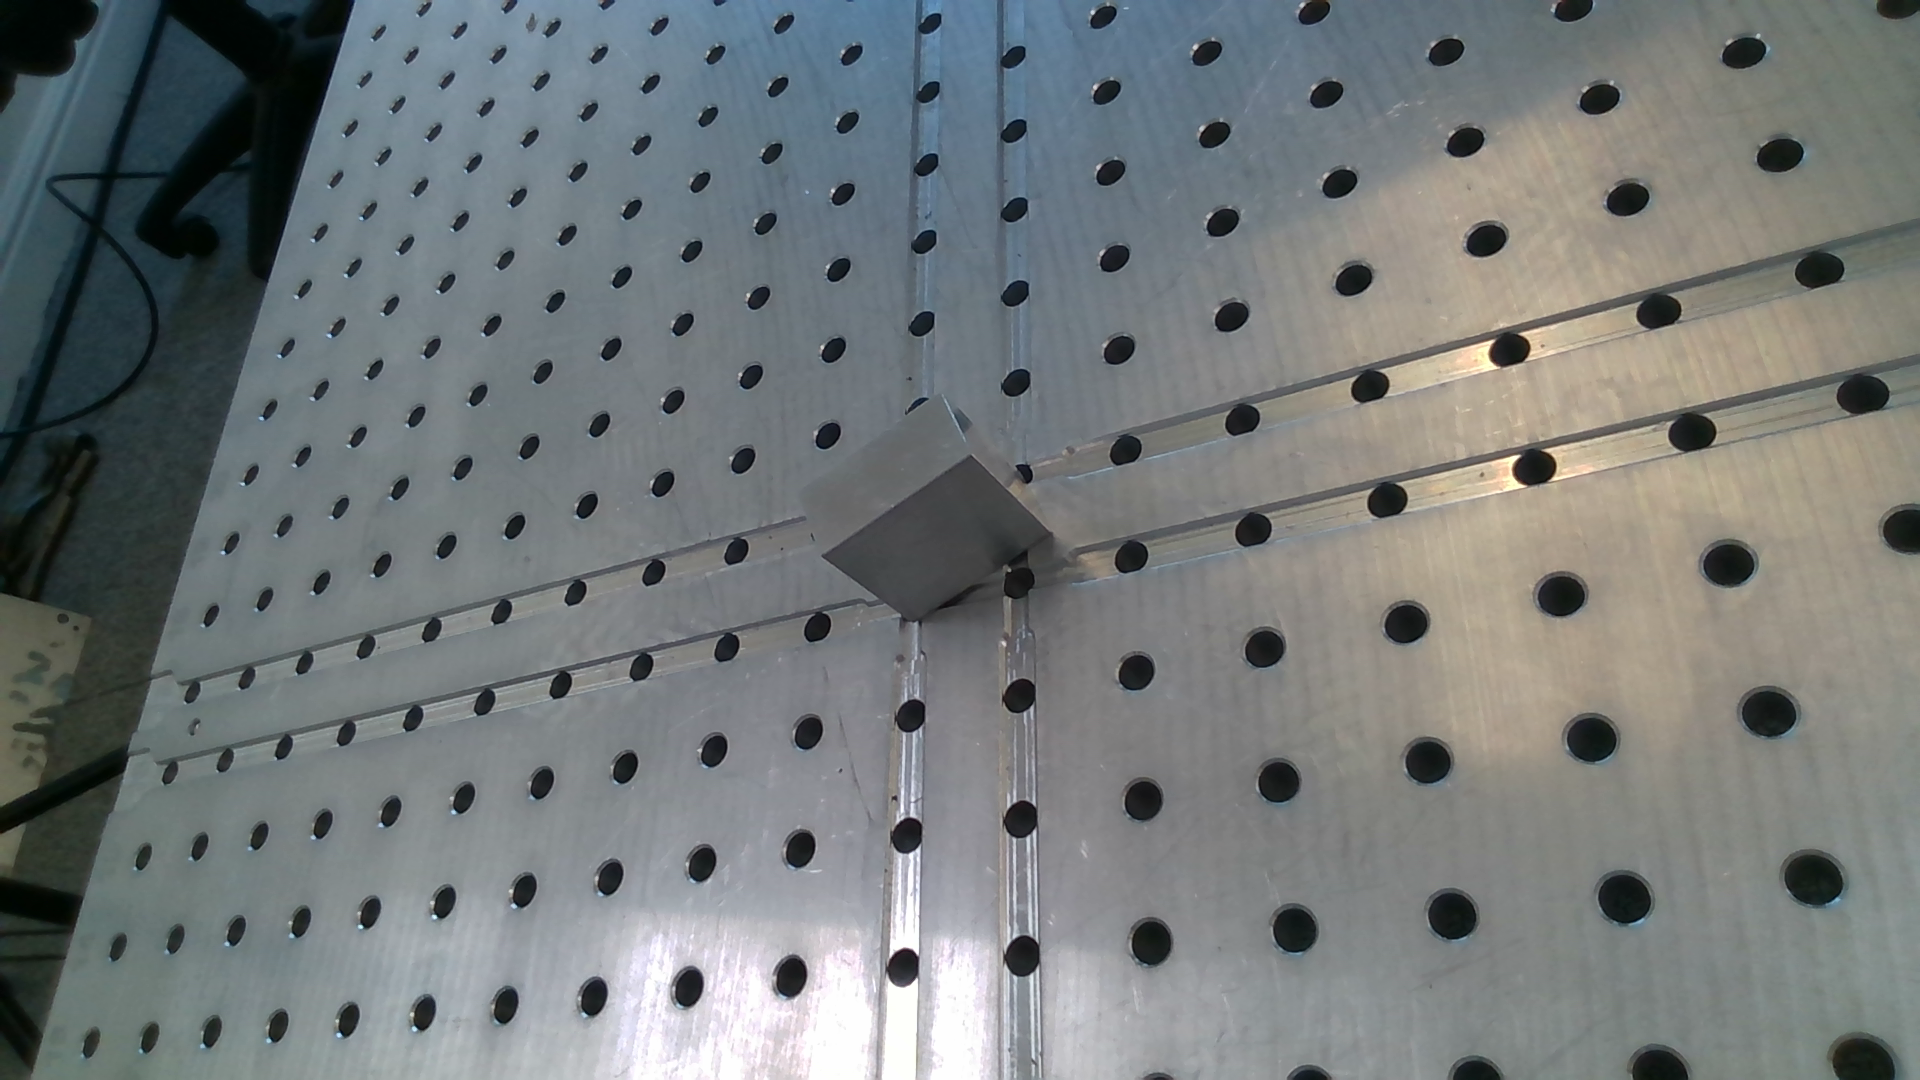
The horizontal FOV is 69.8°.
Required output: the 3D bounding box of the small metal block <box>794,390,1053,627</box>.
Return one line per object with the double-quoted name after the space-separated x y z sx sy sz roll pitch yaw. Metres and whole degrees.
-0.010 -0.007 0.389 0.050 0.050 0.025 -34 53 12 "small metal block"
